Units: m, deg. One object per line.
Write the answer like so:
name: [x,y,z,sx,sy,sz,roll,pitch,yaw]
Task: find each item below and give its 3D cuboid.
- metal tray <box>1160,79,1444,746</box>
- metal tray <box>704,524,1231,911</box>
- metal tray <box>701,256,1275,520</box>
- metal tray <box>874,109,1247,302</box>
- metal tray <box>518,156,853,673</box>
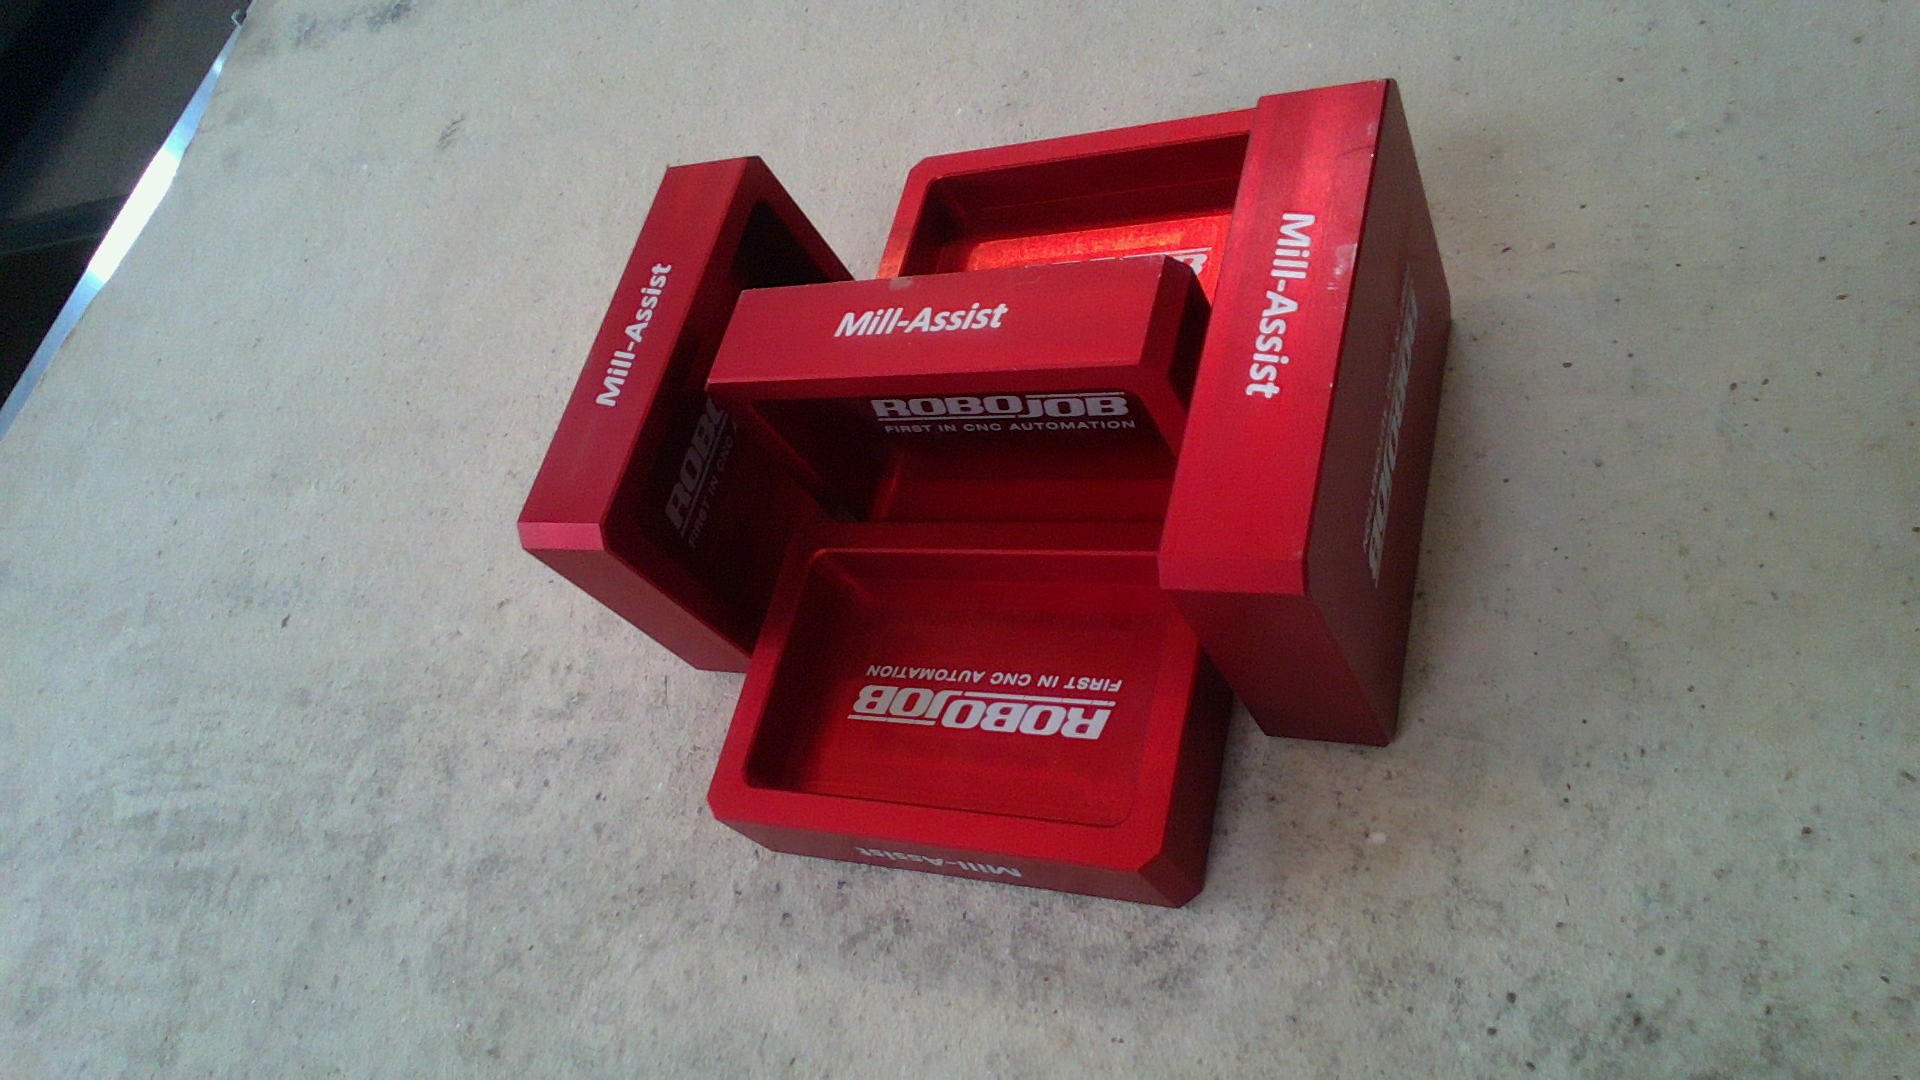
metal tray: [0.086,-0.029,0.323,0.030,0.090,0.130,1,62,29]
metal tray: [0.004,0.042,0.365,0.130,0.030,0.090,1,61,29]
metal tray: [0.009,-0.032,0.369,0.130,0.090,0.030,1,63,29]
metal tray: [0.036,-0.080,0.421,0.130,0.030,0.090,0,65,29]
metal tray: [-0.070,-0.036,0.412,0.030,0.090,0.130,1,63,29]
